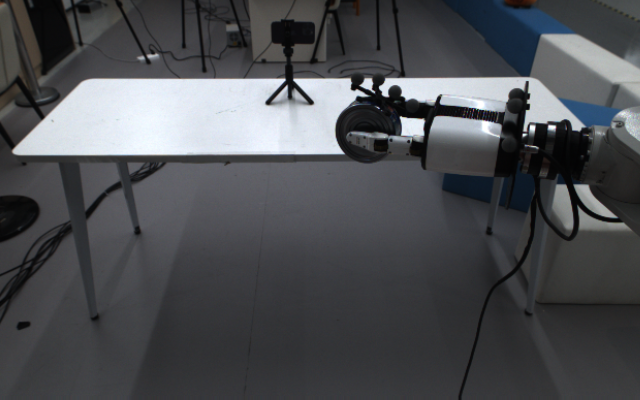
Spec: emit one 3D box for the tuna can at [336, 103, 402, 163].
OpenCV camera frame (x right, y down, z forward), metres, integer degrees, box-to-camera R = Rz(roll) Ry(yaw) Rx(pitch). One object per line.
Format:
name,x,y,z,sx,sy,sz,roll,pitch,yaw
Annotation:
tuna can,0.068,-0.088,0.653,0.085,0.085,0.034,15,31,18
